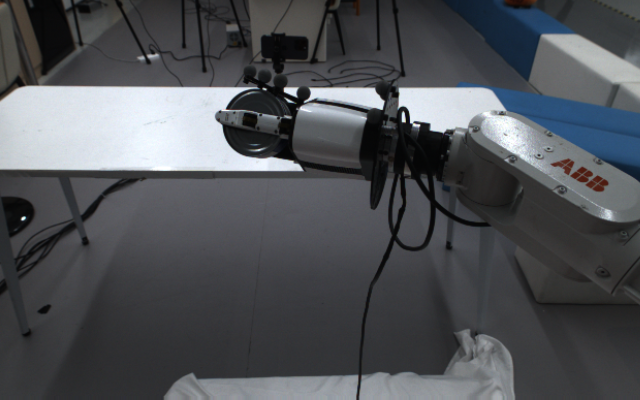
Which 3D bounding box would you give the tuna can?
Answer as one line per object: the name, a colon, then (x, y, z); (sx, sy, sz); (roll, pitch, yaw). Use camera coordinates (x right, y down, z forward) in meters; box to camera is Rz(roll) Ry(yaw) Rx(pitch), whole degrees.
tuna can: (-0.078, -0.097, 0.620); (0.085, 0.085, 0.034); (13, 2, 16)
